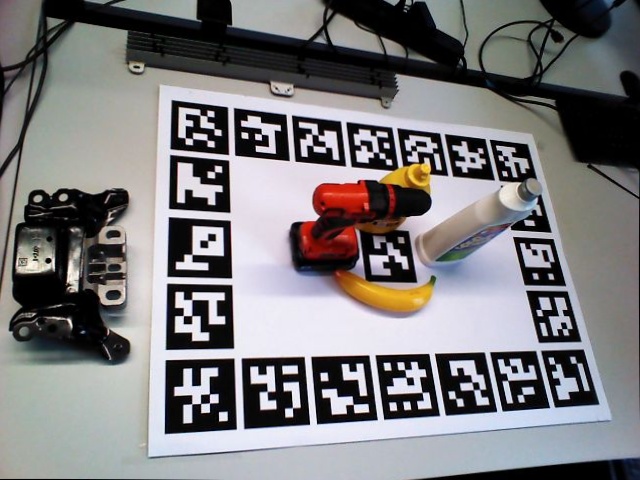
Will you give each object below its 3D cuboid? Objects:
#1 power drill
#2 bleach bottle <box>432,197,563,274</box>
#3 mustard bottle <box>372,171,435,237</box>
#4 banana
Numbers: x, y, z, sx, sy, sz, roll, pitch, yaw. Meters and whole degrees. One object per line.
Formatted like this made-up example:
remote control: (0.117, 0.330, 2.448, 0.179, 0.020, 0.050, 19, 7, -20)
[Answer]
power drill: (0.076, -0.020, 0.792, 0.184, 0.188, 0.057, 1, 62, -23)
bleach bottle: (0.295, -0.010, 0.865, 0.102, 0.252, 0.067, -5, 72, -22)
mustard bottle: (0.162, -0.064, 0.862, 0.096, 0.193, 0.058, 4, 67, -20)
banana: (0.151, 0.096, 0.879, 0.197, 0.039, 0.074, 6, 72, -16)
